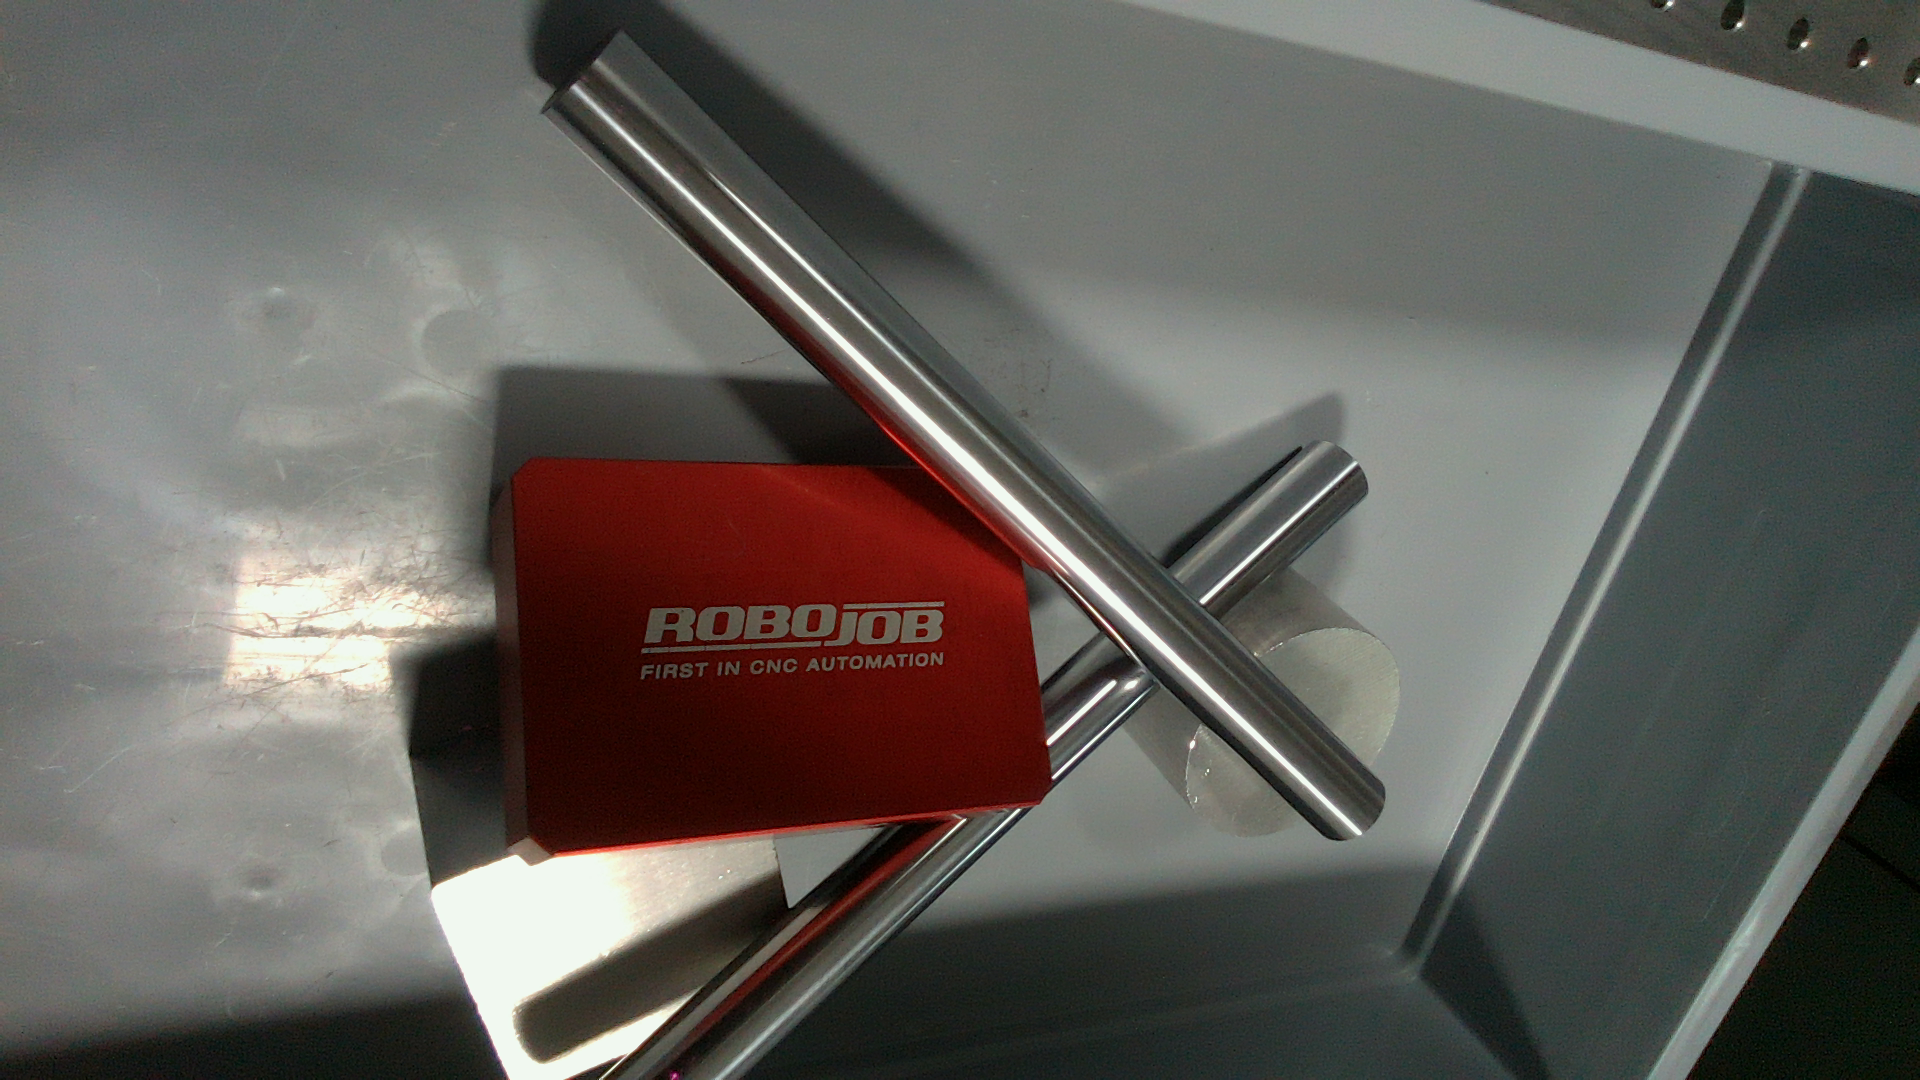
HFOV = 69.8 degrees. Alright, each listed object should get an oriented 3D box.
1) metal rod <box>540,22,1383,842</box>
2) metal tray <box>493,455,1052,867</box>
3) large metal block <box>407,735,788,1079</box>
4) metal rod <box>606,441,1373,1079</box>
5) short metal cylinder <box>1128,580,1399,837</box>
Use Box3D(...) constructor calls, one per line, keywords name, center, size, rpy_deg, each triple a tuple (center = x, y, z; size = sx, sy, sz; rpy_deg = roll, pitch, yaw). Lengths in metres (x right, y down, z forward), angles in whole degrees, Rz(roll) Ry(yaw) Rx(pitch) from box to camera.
Box3D(name="metal rod", center=(0.020, -0.009, 0.355), size=(0.025, 0.025, 0.301), rpy_deg=(-46, 117, 4))
Box3D(name="metal tray", center=(-0.045, 0.029, 0.342), size=(0.130, 0.030, 0.090), rpy_deg=(1, 74, -27))
Box3D(name="large metal block", center=(-0.094, 0.091, 0.373), size=(0.080, 0.050, 0.080), rpy_deg=(-18, 126, -18))
Box3D(name="metal rod", center=(0.012, 0.069, 0.389), size=(0.301, 0.025, 0.025), rpy_deg=(-39, 131, -19))
Box3D(name="short metal cylinder", center=(0.095, 0.050, 0.453), size=(0.080, 0.050, 0.080), rpy_deg=(-14, 124, -21))
